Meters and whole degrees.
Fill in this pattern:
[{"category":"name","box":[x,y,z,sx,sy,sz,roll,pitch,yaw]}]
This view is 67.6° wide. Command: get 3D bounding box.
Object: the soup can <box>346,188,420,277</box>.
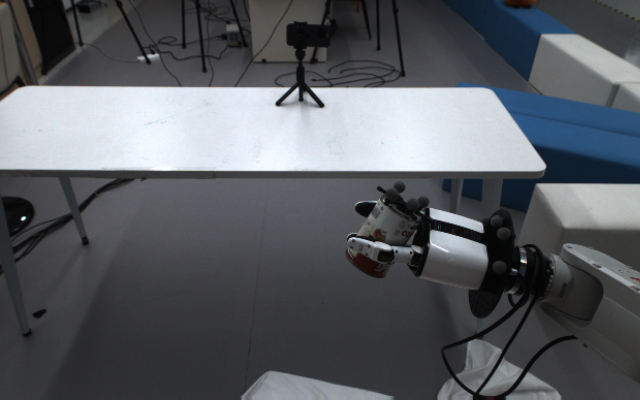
[{"category":"soup can","box":[0.091,0.051,0.691,0.067,0.101,0.067,27,18,-10]}]
